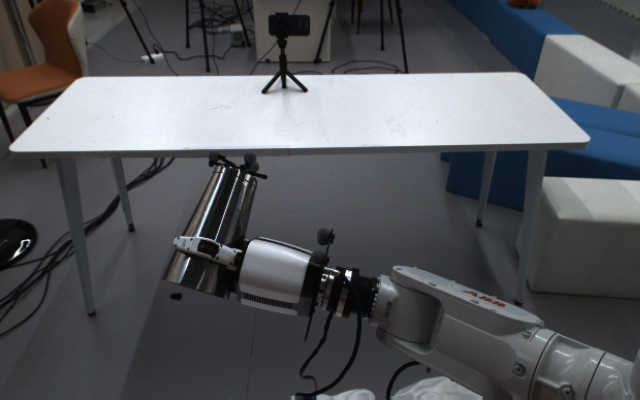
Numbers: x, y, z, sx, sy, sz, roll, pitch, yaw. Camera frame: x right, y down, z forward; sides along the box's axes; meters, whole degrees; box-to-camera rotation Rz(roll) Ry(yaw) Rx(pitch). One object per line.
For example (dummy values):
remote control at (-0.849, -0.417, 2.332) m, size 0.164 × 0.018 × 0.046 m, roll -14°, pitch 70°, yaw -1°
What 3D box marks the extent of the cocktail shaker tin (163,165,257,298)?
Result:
cocktail shaker tin at (-0.145, 0.042, 0.670) m, size 0.093 × 0.093 × 0.170 m, roll 12°, pitch 74°, yaw 14°
